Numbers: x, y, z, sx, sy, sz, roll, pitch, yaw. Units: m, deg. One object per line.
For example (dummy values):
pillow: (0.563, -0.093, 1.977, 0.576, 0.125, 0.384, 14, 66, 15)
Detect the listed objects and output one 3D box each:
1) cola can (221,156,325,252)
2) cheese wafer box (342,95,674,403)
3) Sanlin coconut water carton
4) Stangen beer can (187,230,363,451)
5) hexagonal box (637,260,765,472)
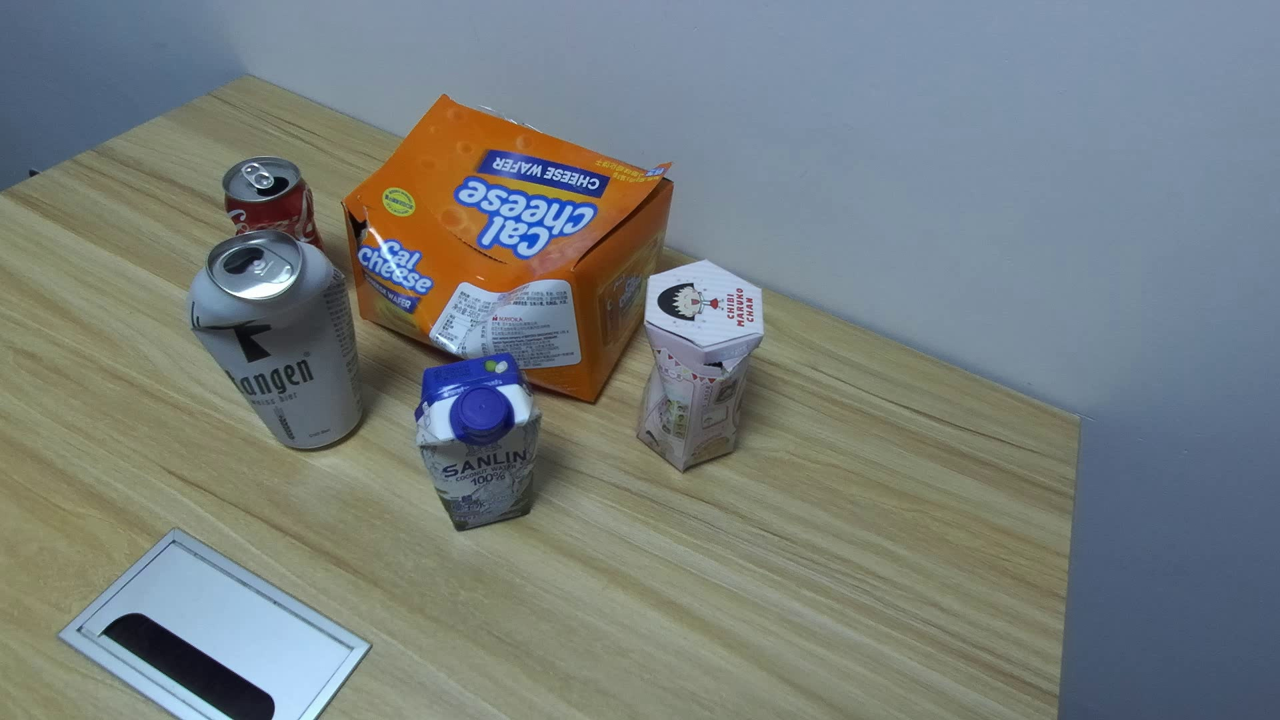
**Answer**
cola can: (-0.294, -0.104, 0.574, 0.066, 0.117, 0.065, -9, 52, -17)
cheese wafer box: (-0.107, -0.085, 0.571, 0.218, 0.145, 0.191, 21, 50, 10)
Sanlin coconut water carton: (-0.103, 0.054, 0.455, 0.078, 0.142, 0.057, -13, 57, -17)
Stangen beer can: (-0.234, -0.008, 0.469, 0.066, 0.162, 0.077, 17, 49, 7)
hexagonal box: (0.038, 0.008, 0.516, 0.091, 0.134, 0.090, -34, 58, -31)
